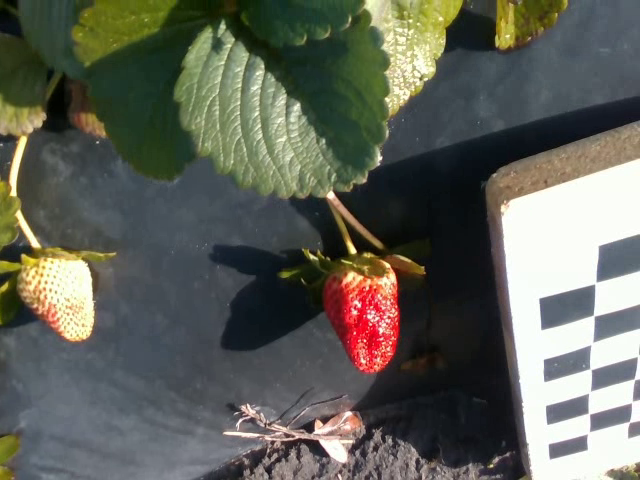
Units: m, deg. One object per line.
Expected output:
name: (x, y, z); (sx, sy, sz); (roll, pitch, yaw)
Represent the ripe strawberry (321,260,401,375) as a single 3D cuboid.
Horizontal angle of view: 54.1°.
ripe strawberry: (0.007, 0.011, 0.098); (0.015, 0.023, 0.015); (-12, -6, -1)
